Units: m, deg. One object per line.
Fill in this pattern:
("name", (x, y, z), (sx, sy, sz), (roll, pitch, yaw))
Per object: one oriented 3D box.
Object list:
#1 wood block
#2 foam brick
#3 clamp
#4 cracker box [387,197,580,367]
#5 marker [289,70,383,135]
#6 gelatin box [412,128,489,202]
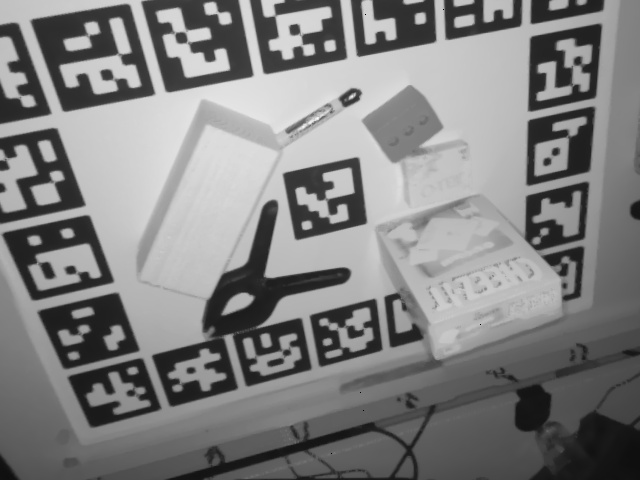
("wood block", (-0.121, -0.053, 0.792), (0.091, 0.091, 0.204), (18, 113, -24))
("foam brick", (0.115, -0.150, 0.819), (0.078, 0.051, 0.053), (-35, 117, 5))
("clamp", (-0.063, 0.056, 0.887), (0.202, 0.037, 0.166), (-41, 117, 8))
("cracker box", (0.186, 0.039, 0.834), (0.165, 0.214, 0.071), (-16, 120, -3))
("marker", (0.020, -0.161, 0.807), (0.121, 0.019, 0.019), (-31, 117, 3))
("gelatin box", (0.165, -0.095, 0.874), (0.090, 0.030, 0.073), (-15, 117, -6))
